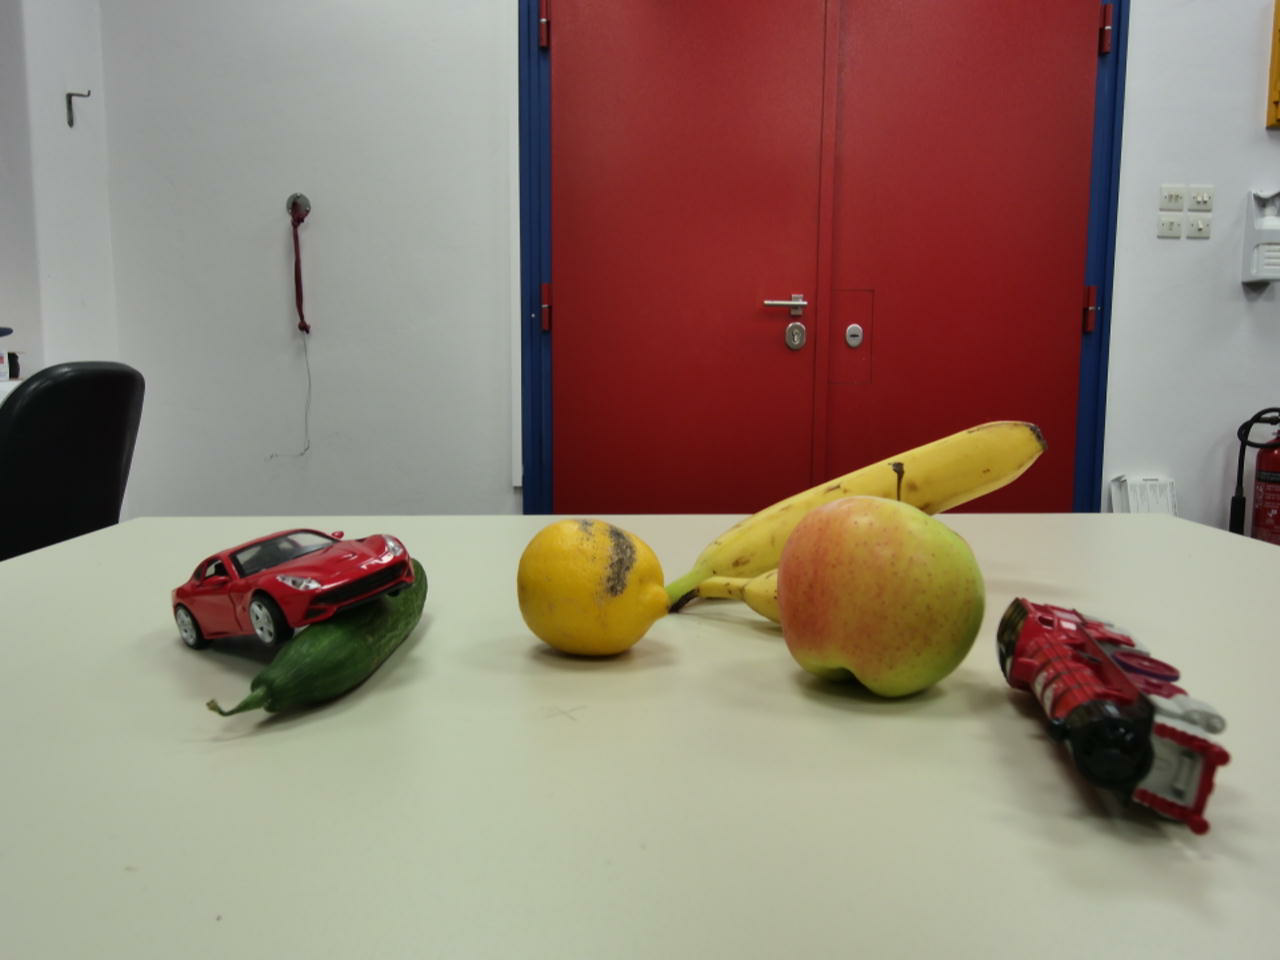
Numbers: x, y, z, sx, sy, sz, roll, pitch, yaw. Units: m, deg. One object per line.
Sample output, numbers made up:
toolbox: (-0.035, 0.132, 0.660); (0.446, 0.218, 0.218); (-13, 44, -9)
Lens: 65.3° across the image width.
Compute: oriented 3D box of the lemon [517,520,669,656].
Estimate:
lemon: (-0.021, 0.045, 0.419); (0.061, 0.056, 0.058); (0, 4, -8)
